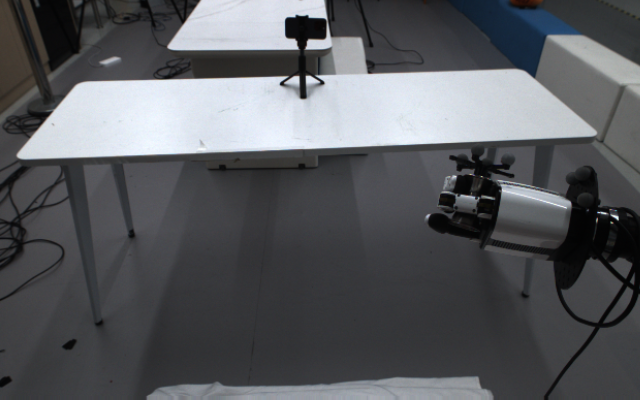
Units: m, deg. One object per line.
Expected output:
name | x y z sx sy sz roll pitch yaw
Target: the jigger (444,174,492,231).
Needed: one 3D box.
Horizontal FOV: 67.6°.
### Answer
jigger | 0.202 0.002 0.644 0.043 0.071 0.043 19 -6 2
